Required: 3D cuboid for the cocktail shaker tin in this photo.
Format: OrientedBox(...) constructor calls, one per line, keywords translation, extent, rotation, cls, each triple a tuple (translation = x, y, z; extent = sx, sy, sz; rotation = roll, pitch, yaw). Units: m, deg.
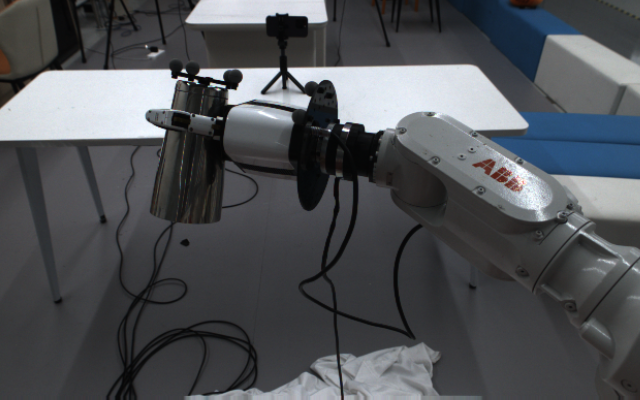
OrientedBox(translation=(-0.161, -0.065, 0.629), extent=(0.093, 0.170, 0.093), rotation=(10, 10, -2), cls="cocktail shaker tin")
